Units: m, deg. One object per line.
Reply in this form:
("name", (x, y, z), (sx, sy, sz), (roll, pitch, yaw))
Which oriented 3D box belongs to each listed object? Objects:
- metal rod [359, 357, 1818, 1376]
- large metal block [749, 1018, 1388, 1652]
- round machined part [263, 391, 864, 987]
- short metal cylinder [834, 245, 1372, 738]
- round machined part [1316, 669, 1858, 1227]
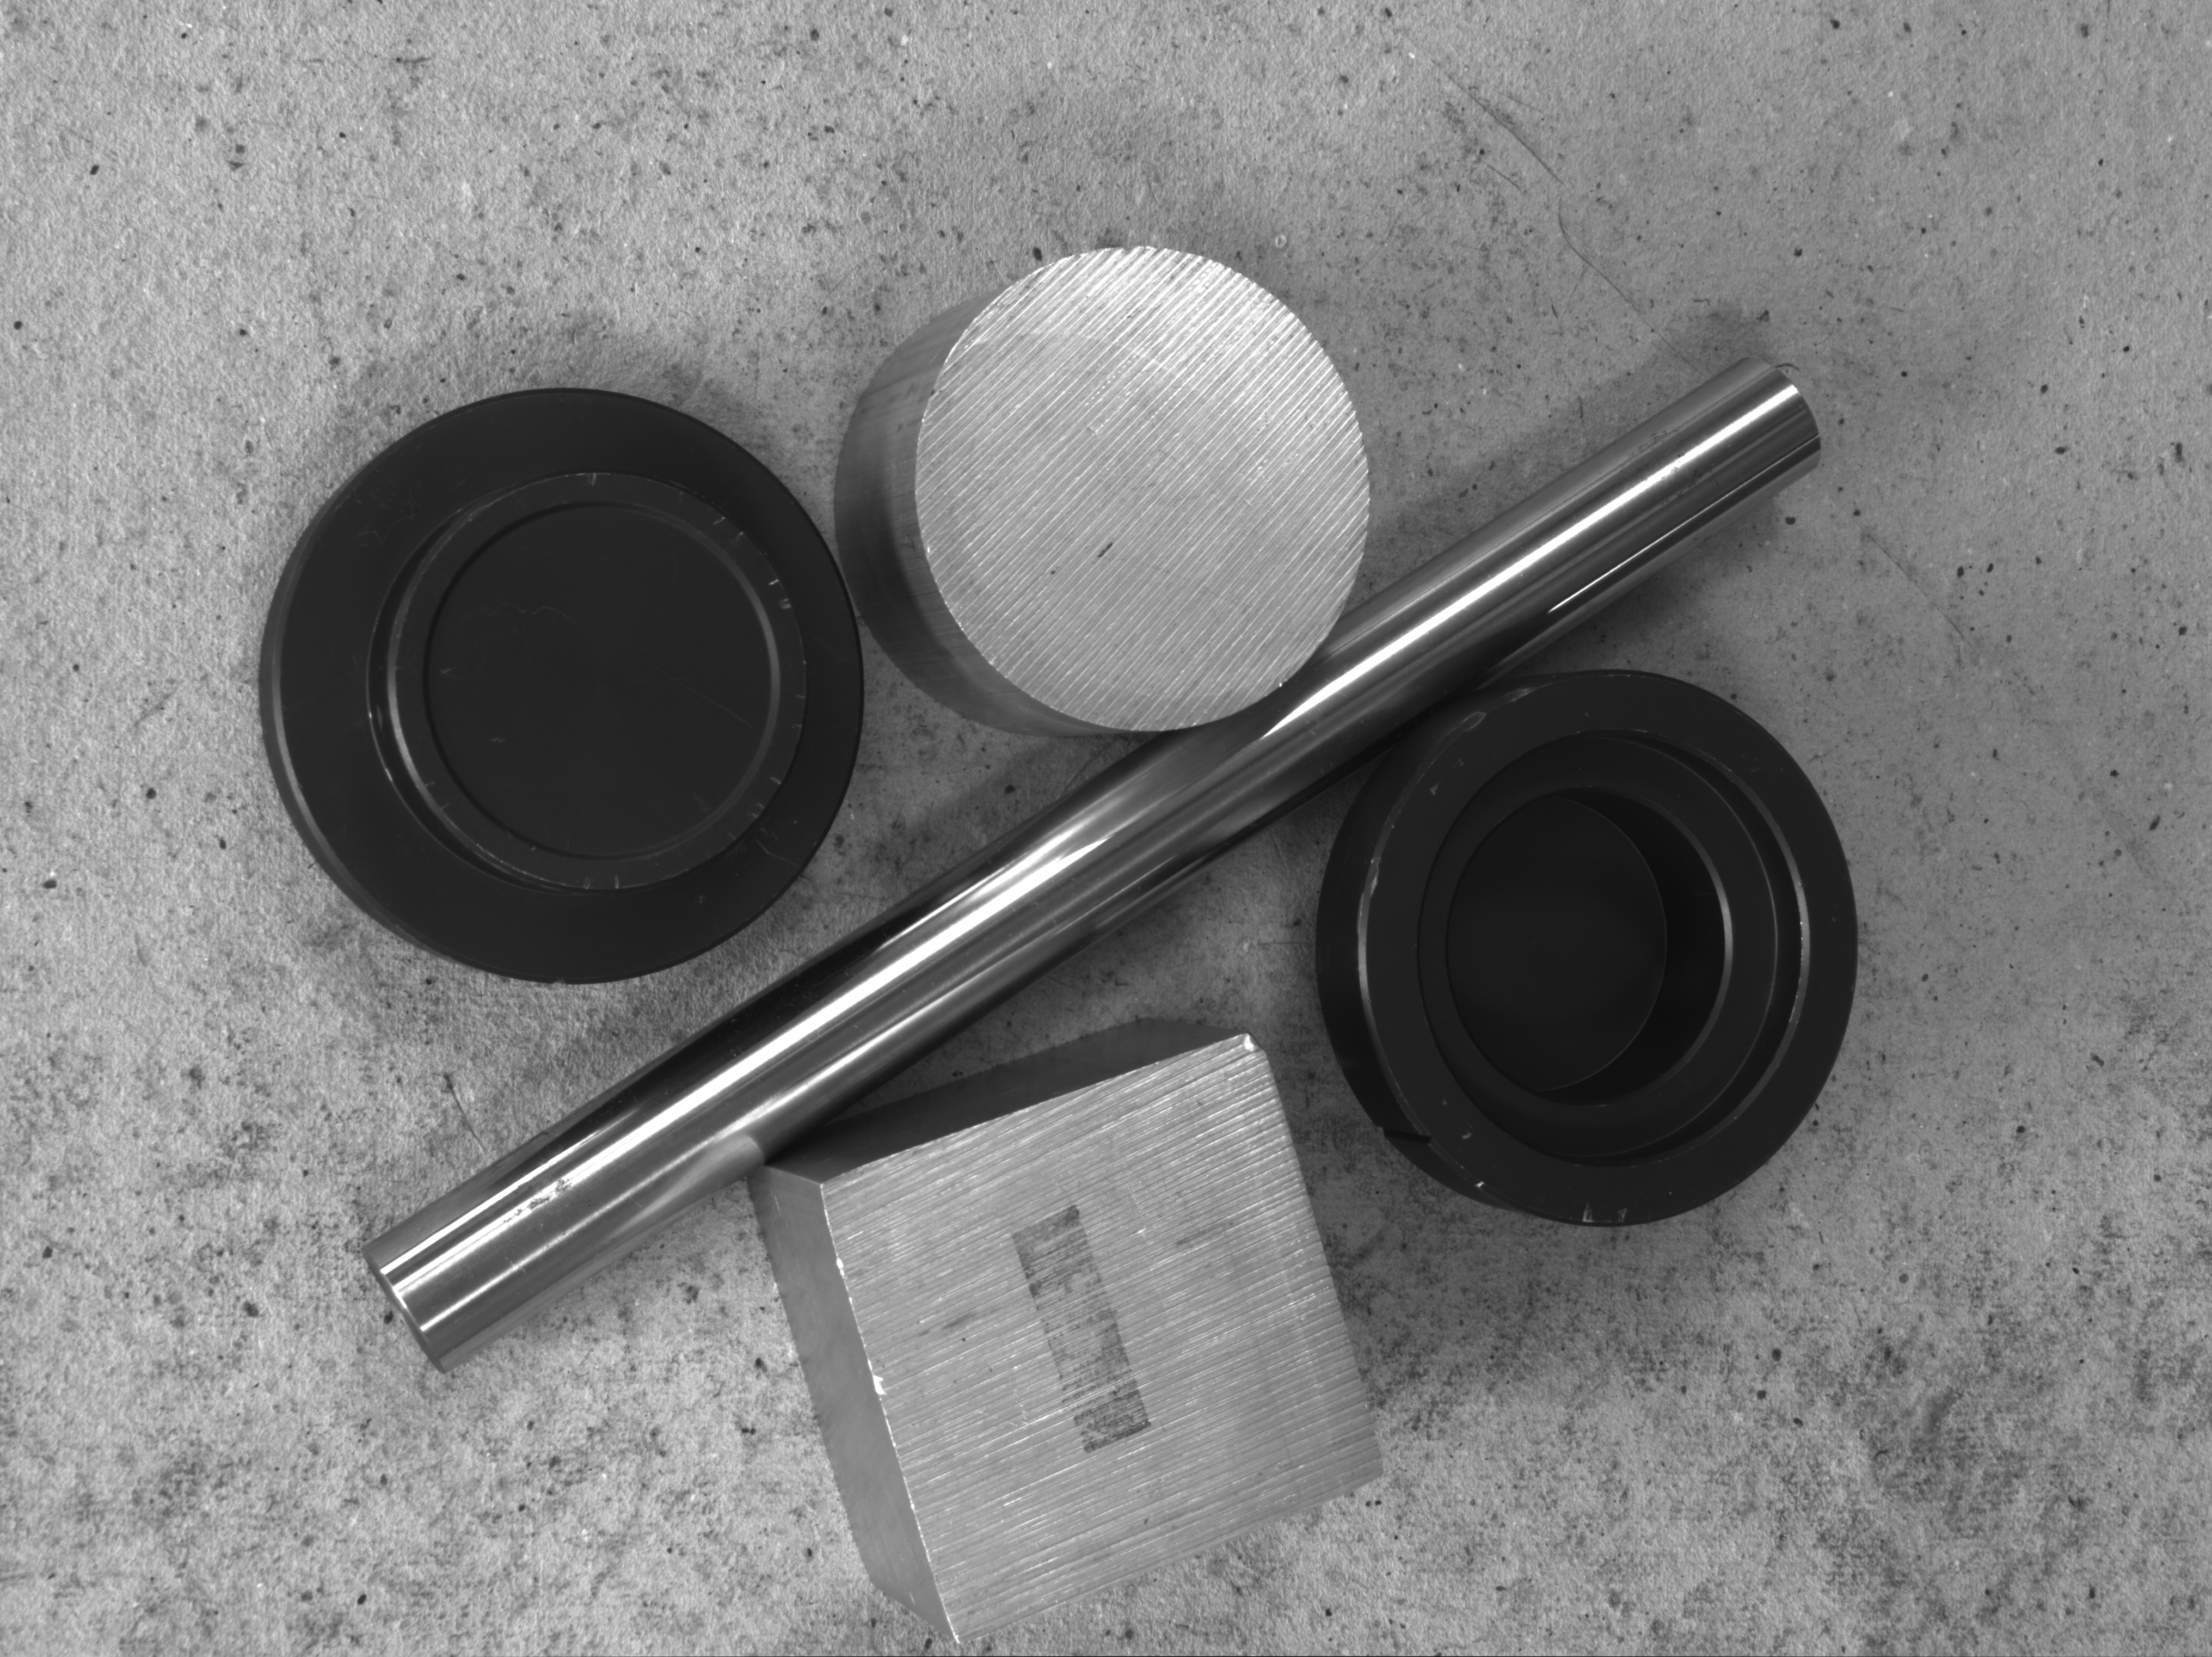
("metal rod", (0.005, 0.001, 0.646), (0.300, 0.025, 0.025), (-33, 101, -17))
("large metal block", (-0.008, 0.084, 0.628), (0.080, 0.050, 0.080), (-18, 96, -19))
("round machined part", (-0.087, -0.023, 0.603), (0.098, 0.042, 0.098), (0, 90, -20))
("short metal cylinder", (-0.001, -0.056, 0.629), (0.080, 0.050, 0.080), (0, 90, -20))
("round machined part", (0.083, 0.021, 0.664), (0.098, 0.042, 0.098), (0, 90, -20))
